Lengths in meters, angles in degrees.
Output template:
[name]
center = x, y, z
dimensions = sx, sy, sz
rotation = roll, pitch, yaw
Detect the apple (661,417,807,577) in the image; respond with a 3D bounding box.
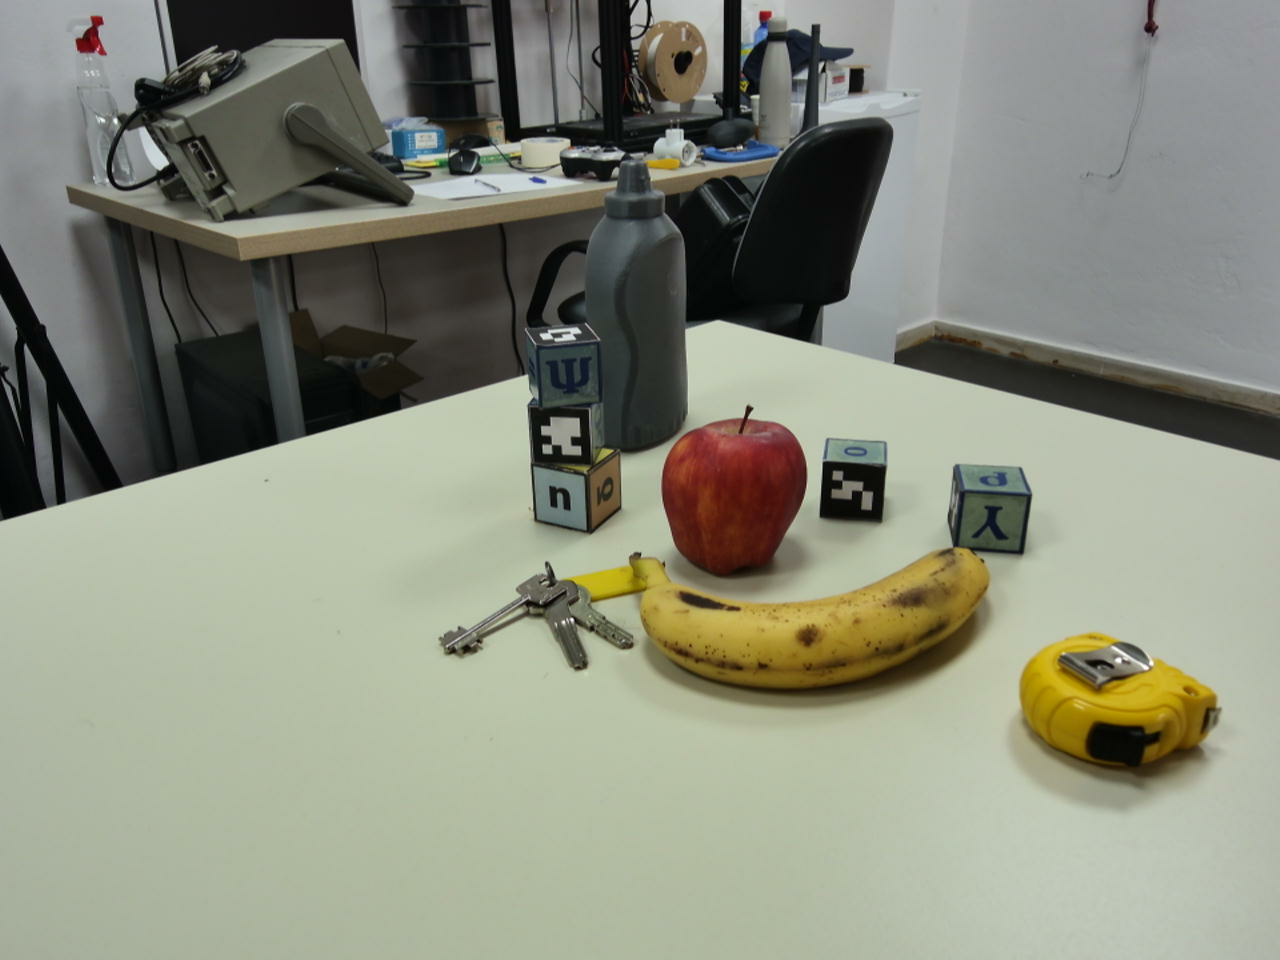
[apple]
center = 0.053, 0.002, 0.551
dimensions = 0.083, 0.090, 0.083
rotation = 1, 24, 0
